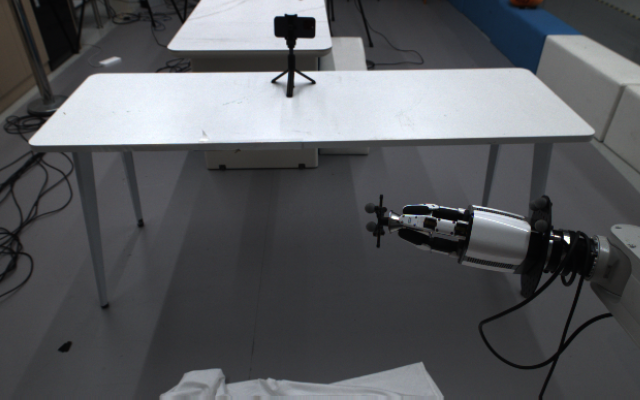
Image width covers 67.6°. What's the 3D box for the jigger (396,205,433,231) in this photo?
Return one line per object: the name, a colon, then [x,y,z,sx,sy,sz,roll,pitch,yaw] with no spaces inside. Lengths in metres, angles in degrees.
jigger: [0.156,0.032,0.791,0.071,0.043,0.043,2,33,17]
